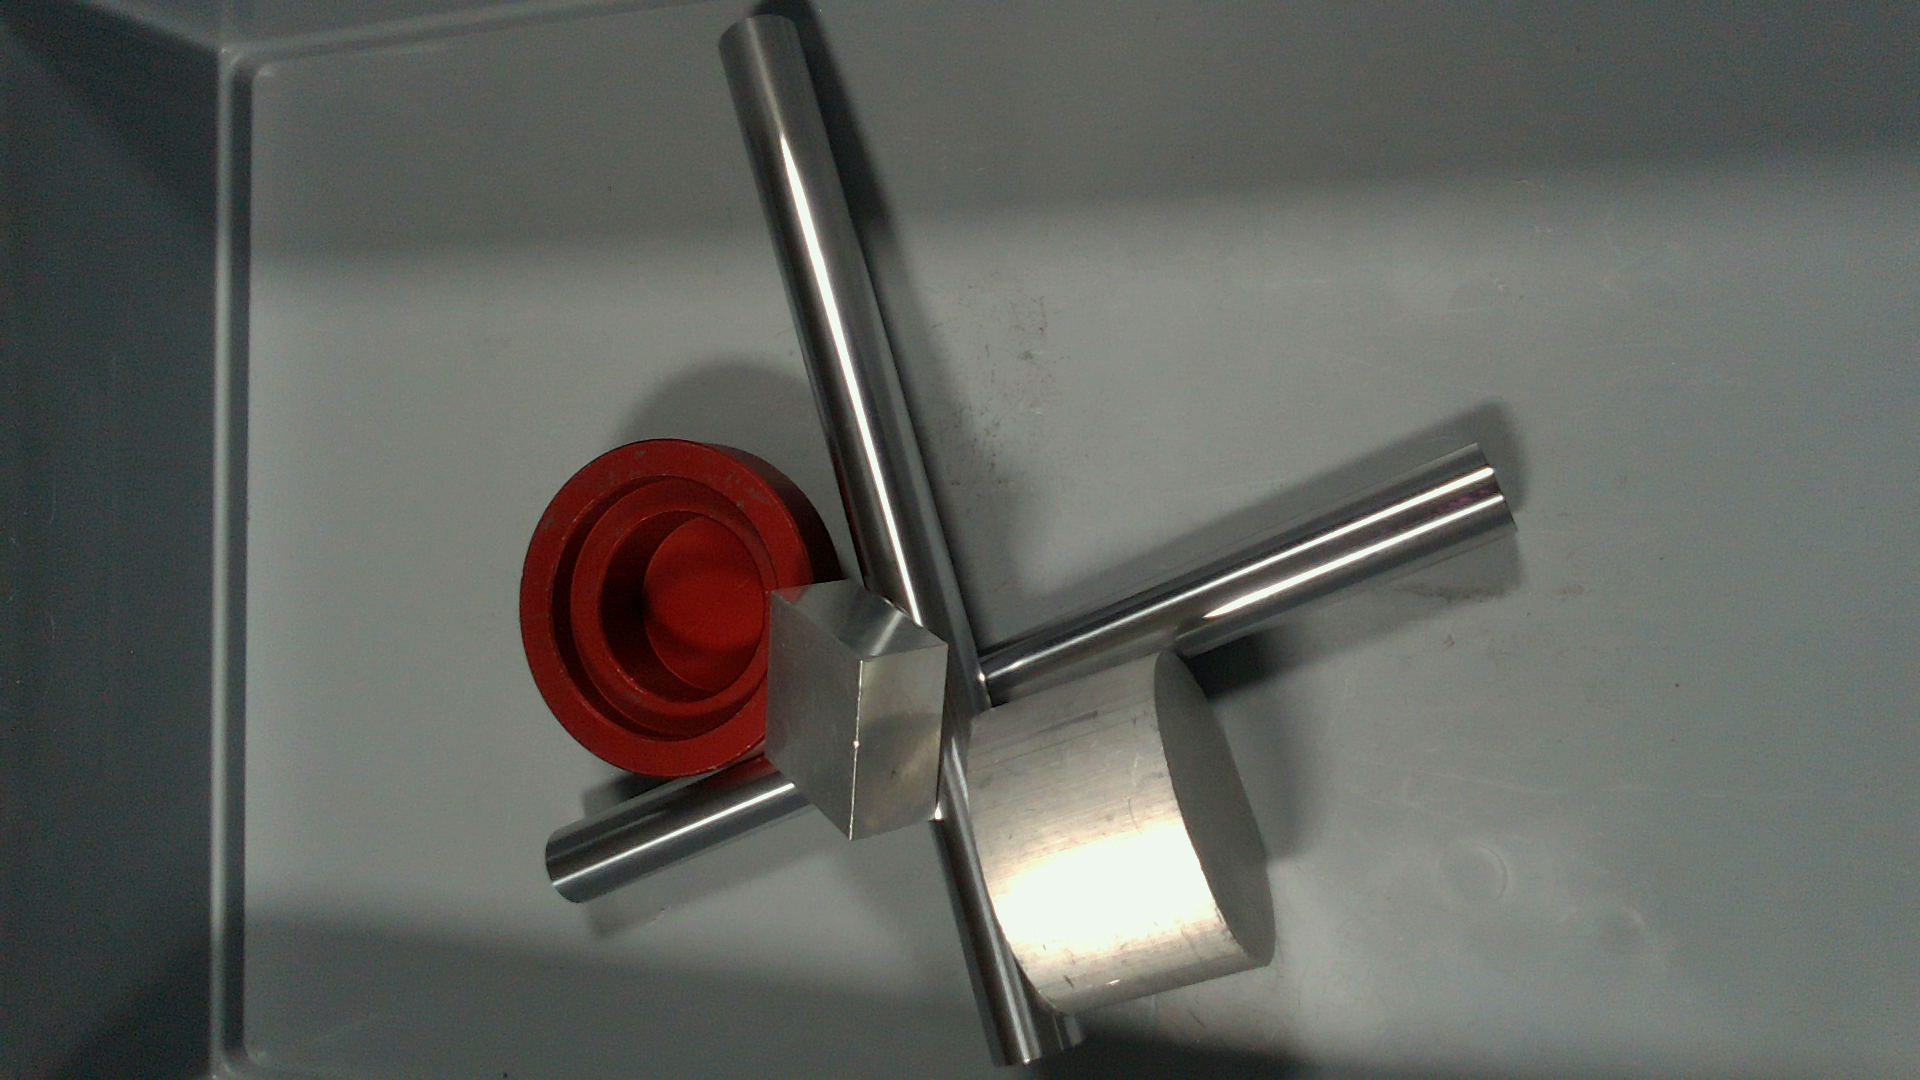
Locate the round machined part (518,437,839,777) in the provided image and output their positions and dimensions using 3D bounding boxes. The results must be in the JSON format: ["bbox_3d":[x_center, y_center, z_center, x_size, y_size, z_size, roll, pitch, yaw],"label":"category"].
[{"bbox_3d":[-0.080,0.019,0.415,0.098,0.042,0.098,0,90,20],"label":"round machined part"}]

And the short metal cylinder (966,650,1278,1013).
[{"bbox_3d":[0.042,0.074,0.350,0.050,0.080,0.080,-21,83,19],"label":"short metal cylinder"}]

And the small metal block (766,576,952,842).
[{"bbox_3d":[-0.028,0.043,0.361,0.050,0.025,0.050,29,120,51],"label":"small metal block"}]

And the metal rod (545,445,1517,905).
[{"bbox_3d":[0.006,0.046,0.393,0.299,0.025,0.025,-24,82,18],"label":"metal rod"}]

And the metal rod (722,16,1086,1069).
[{"bbox_3d":[-0.020,-0.010,0.383,0.025,0.025,0.300,-21,76,19],"label":"metal rod"}]
